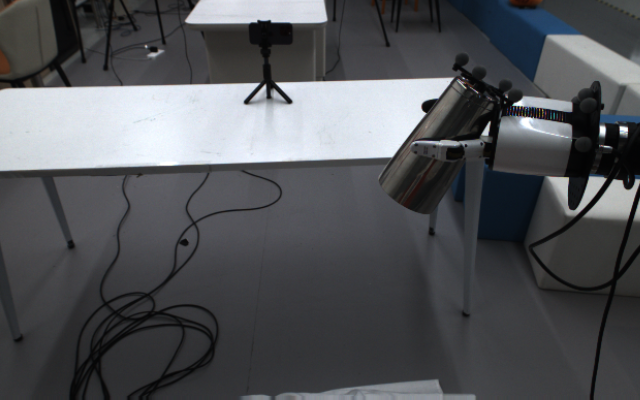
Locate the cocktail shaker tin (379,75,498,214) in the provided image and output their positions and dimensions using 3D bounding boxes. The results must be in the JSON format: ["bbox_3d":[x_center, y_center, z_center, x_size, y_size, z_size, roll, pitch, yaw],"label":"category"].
[{"bbox_3d":[0.163,-0.079,0.652,0.093,0.170,0.093,25,29,-15],"label":"cocktail shaker tin"}]
